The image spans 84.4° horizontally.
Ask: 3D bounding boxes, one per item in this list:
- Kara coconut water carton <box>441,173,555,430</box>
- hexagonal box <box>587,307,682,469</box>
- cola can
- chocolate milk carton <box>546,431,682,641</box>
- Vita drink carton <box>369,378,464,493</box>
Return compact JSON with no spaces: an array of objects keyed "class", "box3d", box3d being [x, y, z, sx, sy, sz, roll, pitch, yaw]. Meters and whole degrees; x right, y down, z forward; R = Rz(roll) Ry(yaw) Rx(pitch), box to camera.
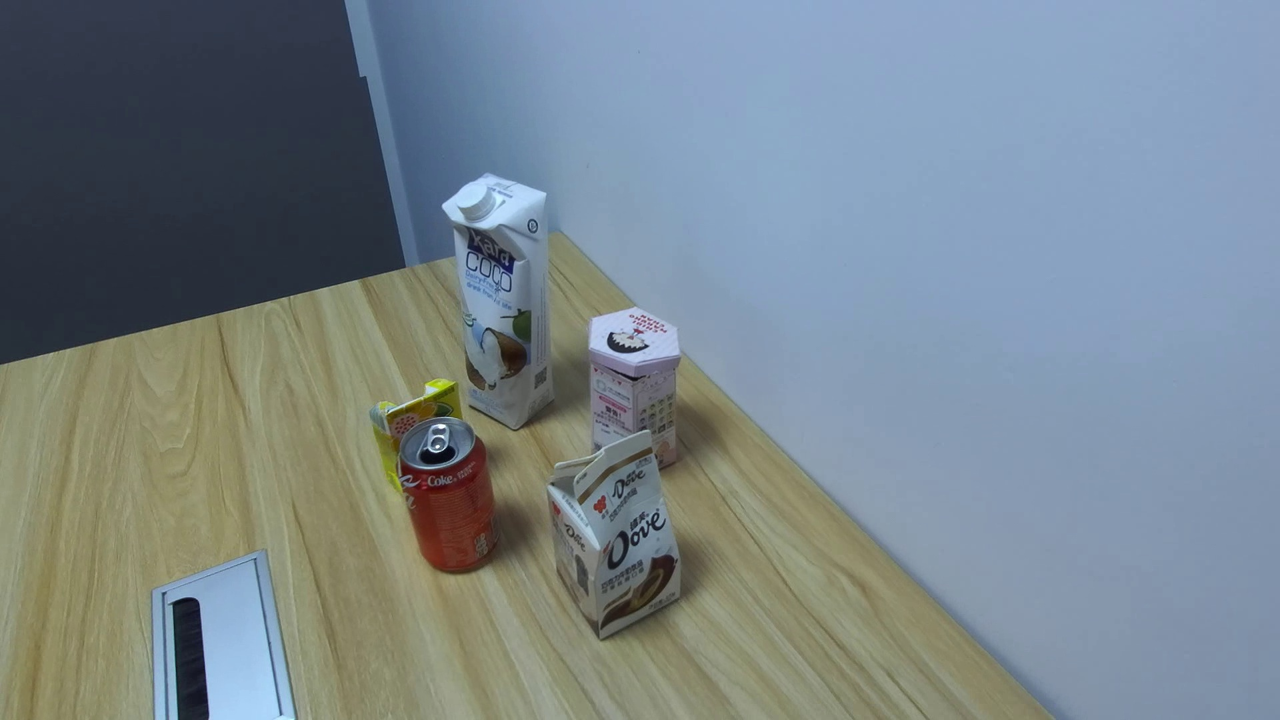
[{"class":"Kara coconut water carton","box3d":[-0.124,-0.052,0.652,0.099,0.244,0.071,22,42,27]},{"class":"hexagonal box","box3d":[-0.007,0.031,0.634,0.092,0.135,0.085,19,41,24]},{"class":"cola can","box3d":[-0.150,0.106,0.555,0.068,0.120,0.067,-1,37,1]},{"class":"chocolate milk carton","box3d":[-0.015,0.116,0.509,0.084,0.155,0.072,-19,41,-23]},{"class":"Vita drink carton","box3d":[-0.192,0.063,0.617,0.071,0.110,0.046,-29,48,-34]}]
